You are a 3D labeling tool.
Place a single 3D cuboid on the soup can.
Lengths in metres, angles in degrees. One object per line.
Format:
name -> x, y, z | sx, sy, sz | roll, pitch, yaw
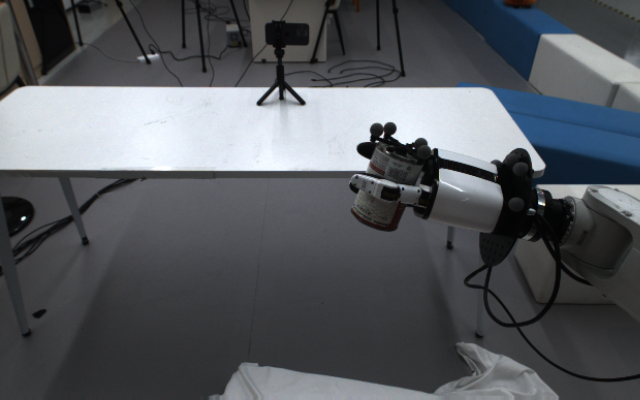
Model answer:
soup can -> 0.090, -0.019, 0.642 | 0.067, 0.101, 0.067 | 17, 21, -7
